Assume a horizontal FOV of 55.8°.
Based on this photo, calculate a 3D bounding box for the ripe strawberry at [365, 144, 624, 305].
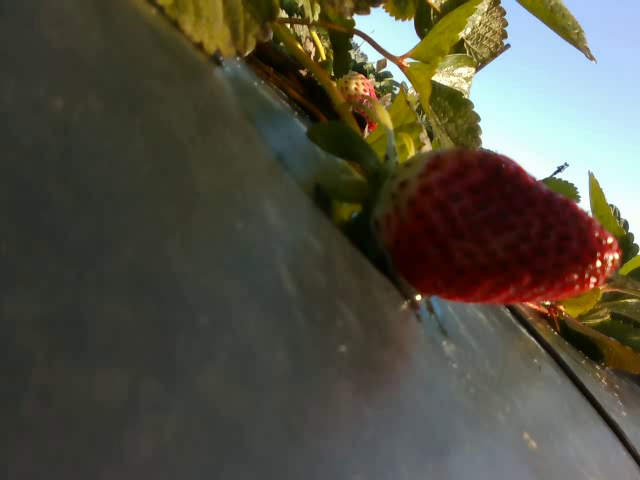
[{"bbox_3d":[0.026,0.000,0.089,0.041,0.031,0.028,16,15,39],"label":"ripe strawberry"}]
